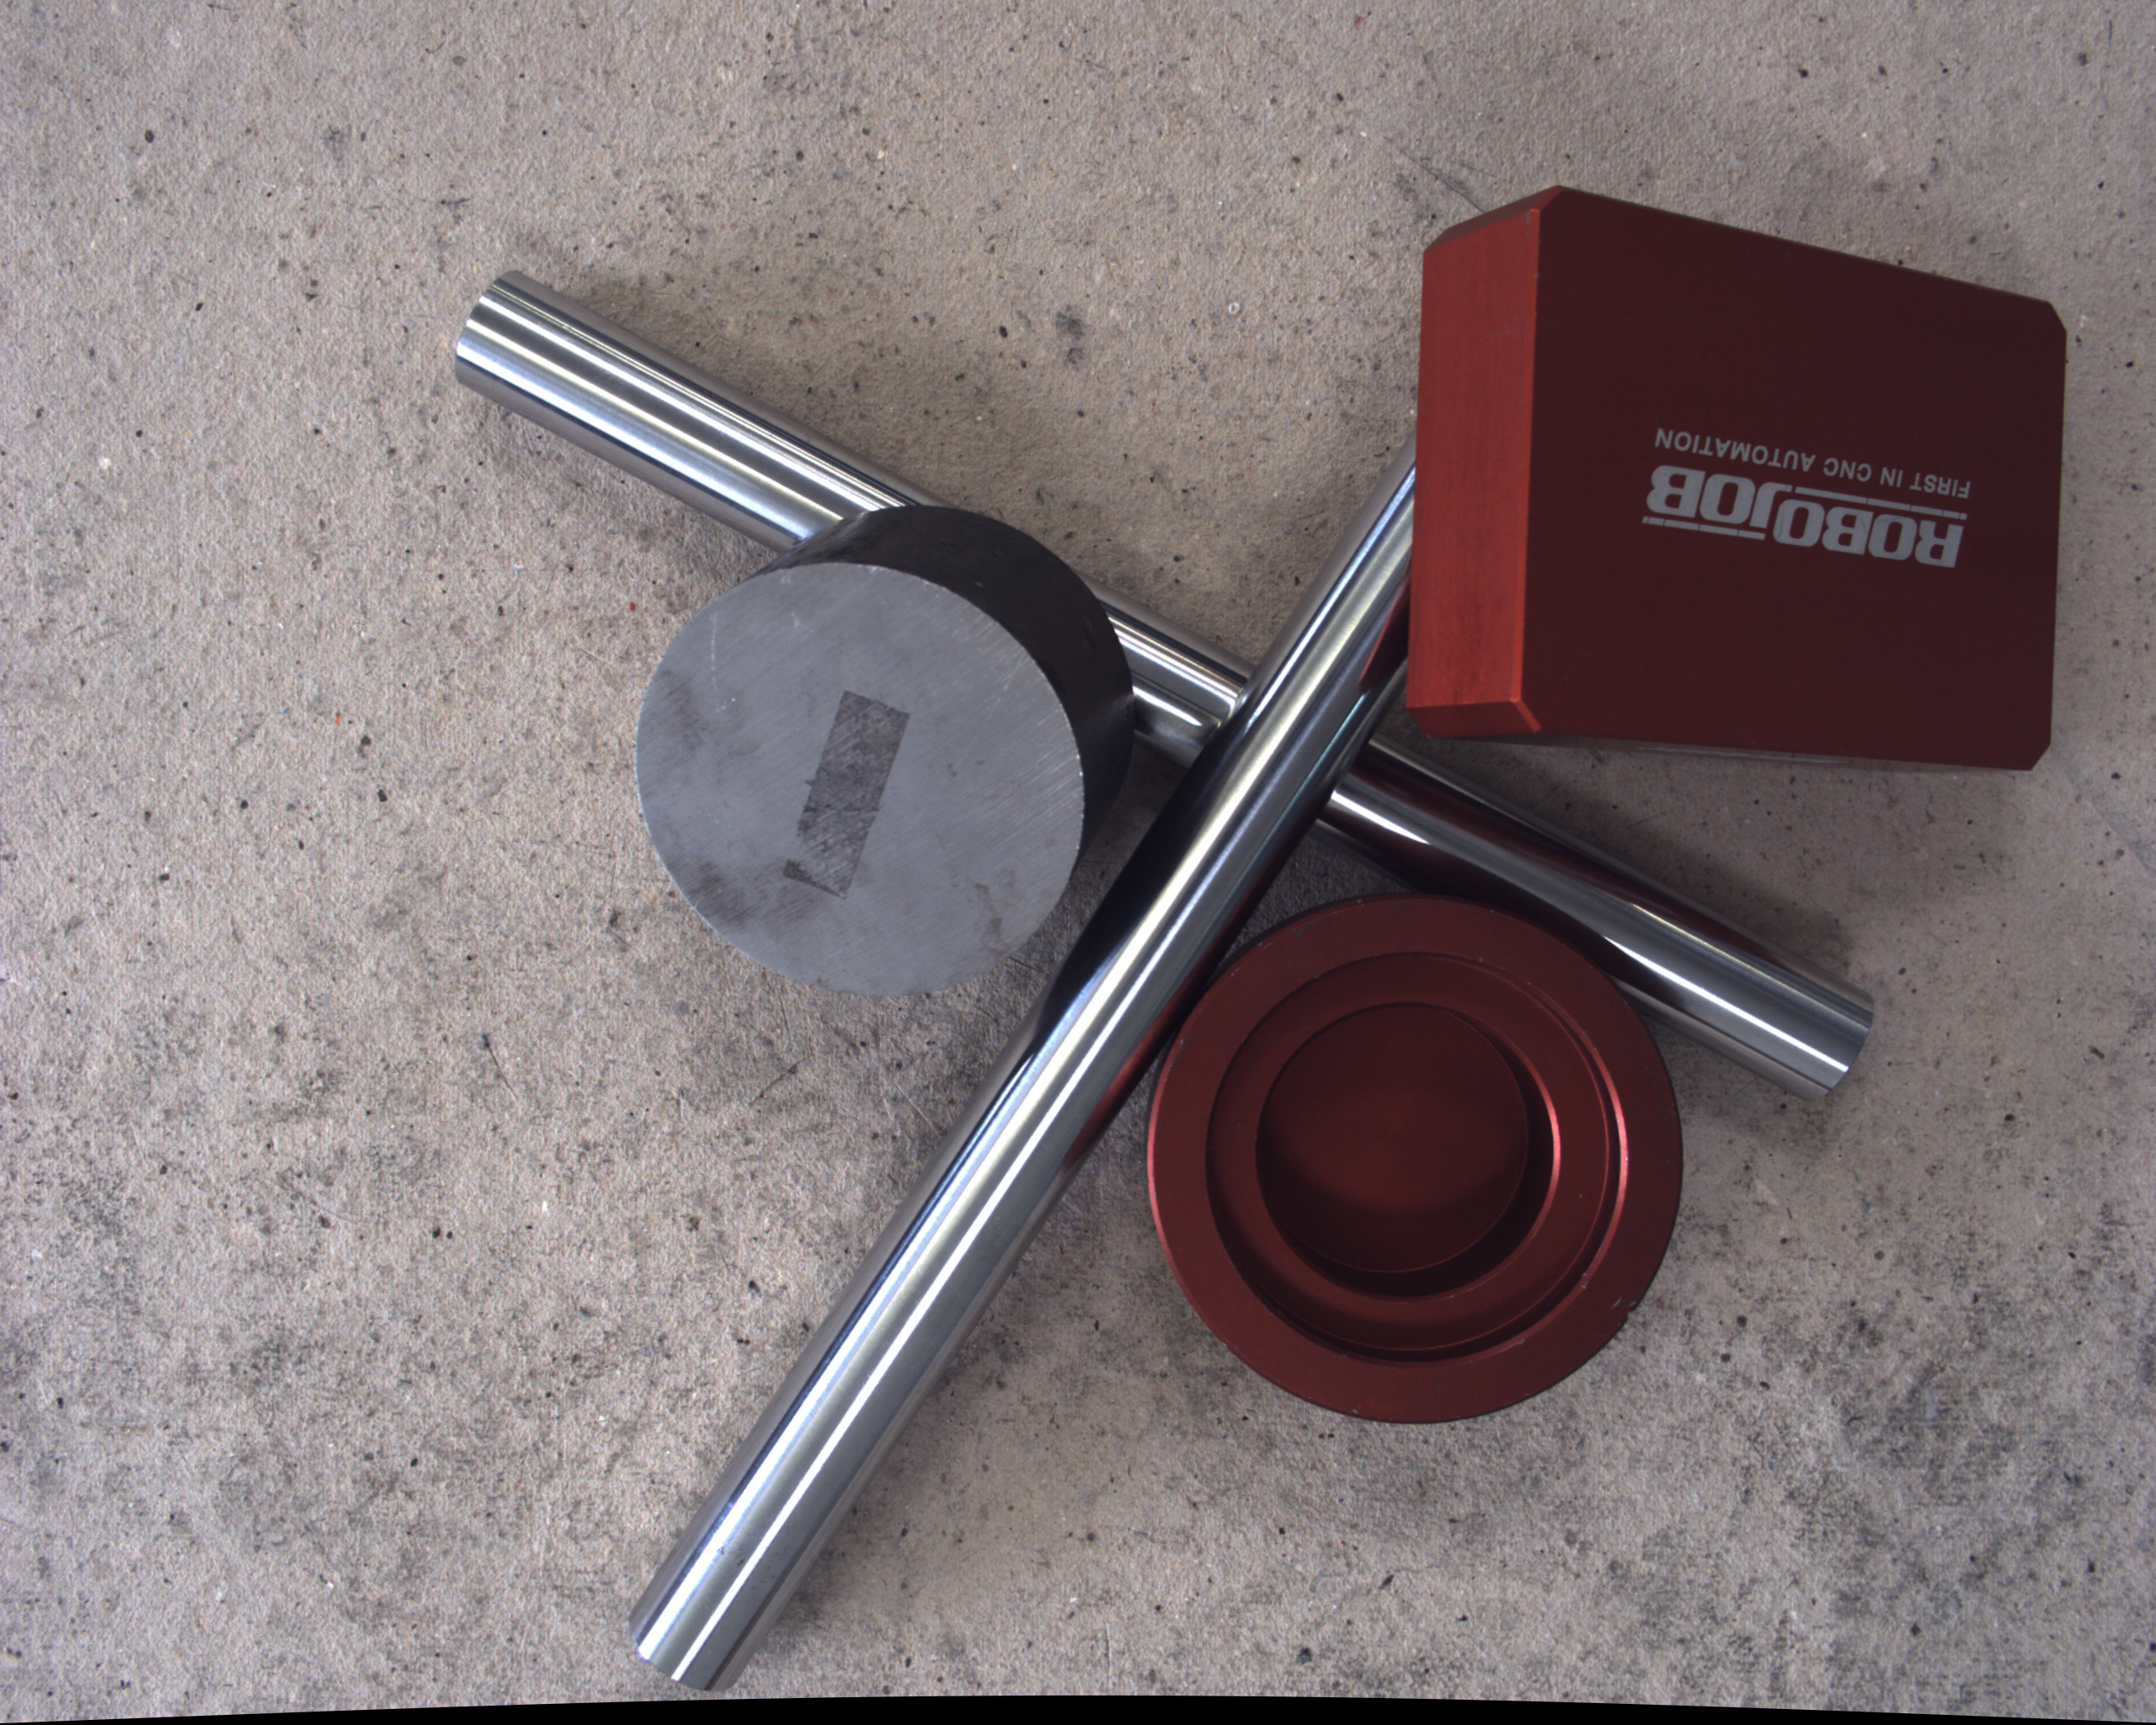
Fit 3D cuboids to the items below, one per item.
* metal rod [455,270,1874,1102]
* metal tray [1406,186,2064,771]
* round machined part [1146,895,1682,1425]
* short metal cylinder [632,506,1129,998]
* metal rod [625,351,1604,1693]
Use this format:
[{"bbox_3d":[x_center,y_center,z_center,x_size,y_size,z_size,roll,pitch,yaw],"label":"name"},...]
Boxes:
[{"bbox_3d":[0.017,-0.034,0.412,0.301,0.025,0.025,28,90,0],"label":"metal rod"},{"bbox_3d":[0.123,-0.064,0.381,0.131,0.030,0.089,2,90,-28],"label":"metal tray"},{"bbox_3d":[0.062,0.055,0.403,0.099,0.042,0.097,0,90,0],"label":"round machined part"},{"bbox_3d":[-0.034,-0.022,0.385,0.080,0.050,0.079,4,111,11],"label":"short metal cylinder"},{"bbox_3d":[0.004,0.030,0.394,0.025,0.025,0.299,33,96,0],"label":"metal rod"}]
